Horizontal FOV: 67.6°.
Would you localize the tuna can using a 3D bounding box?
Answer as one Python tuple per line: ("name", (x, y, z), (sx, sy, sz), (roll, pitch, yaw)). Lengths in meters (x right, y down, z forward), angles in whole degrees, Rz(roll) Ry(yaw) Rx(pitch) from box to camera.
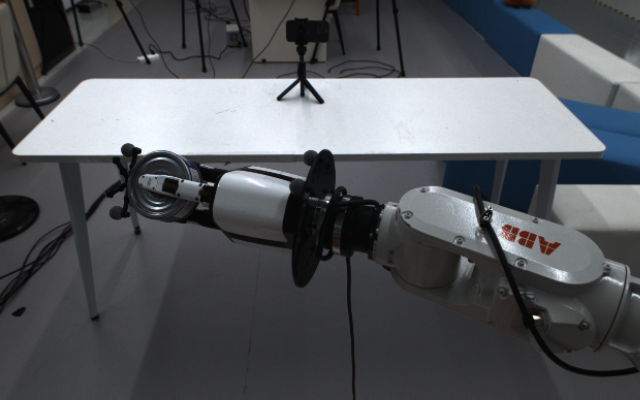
("tuna can", (-0.188, -0.017, 0.592), (0.085, 0.085, 0.034), (10, -5, 11))
